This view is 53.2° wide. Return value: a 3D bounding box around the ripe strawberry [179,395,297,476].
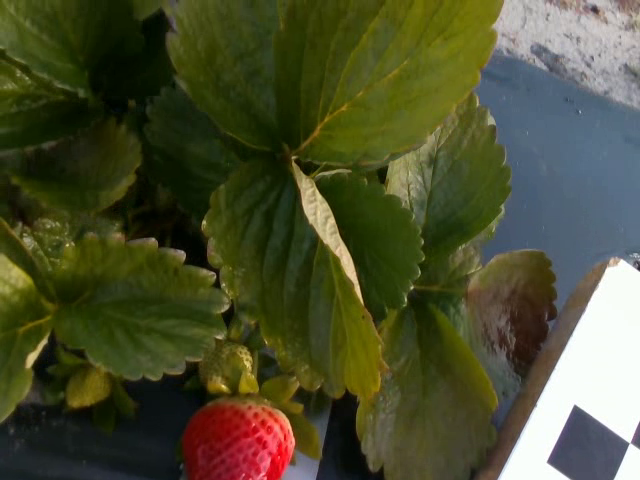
[{"bbox_3d":[-0.026,0.073,0.202,0.050,0.055,0.036,33,-38,-7],"label":"ripe strawberry"}]
